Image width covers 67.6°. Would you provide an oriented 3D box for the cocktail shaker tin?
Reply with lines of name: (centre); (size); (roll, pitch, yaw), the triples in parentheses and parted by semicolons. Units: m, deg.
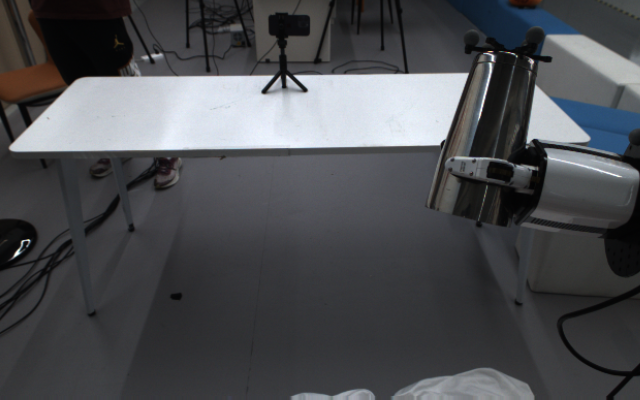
cocktail shaker tin: (0.180, -0.064, 0.521); (0.093, 0.170, 0.093); (13, 4, -1)
